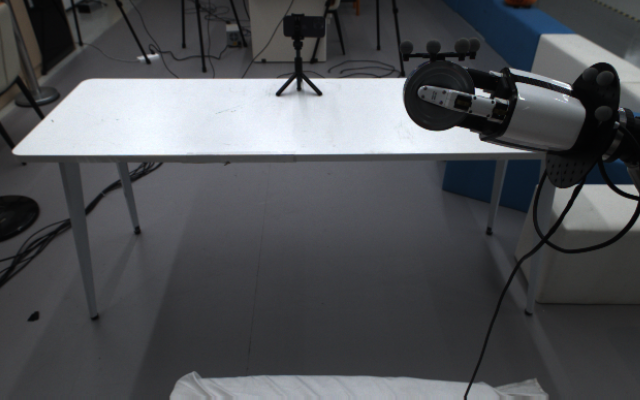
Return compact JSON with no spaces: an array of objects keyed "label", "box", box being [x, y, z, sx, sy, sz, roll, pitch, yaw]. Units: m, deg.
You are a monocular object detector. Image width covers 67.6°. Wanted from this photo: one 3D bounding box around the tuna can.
[{"label":"tuna can","box":[0.149,-0.133,0.611,0.085,0.085,0.034,4,18,3]}]
